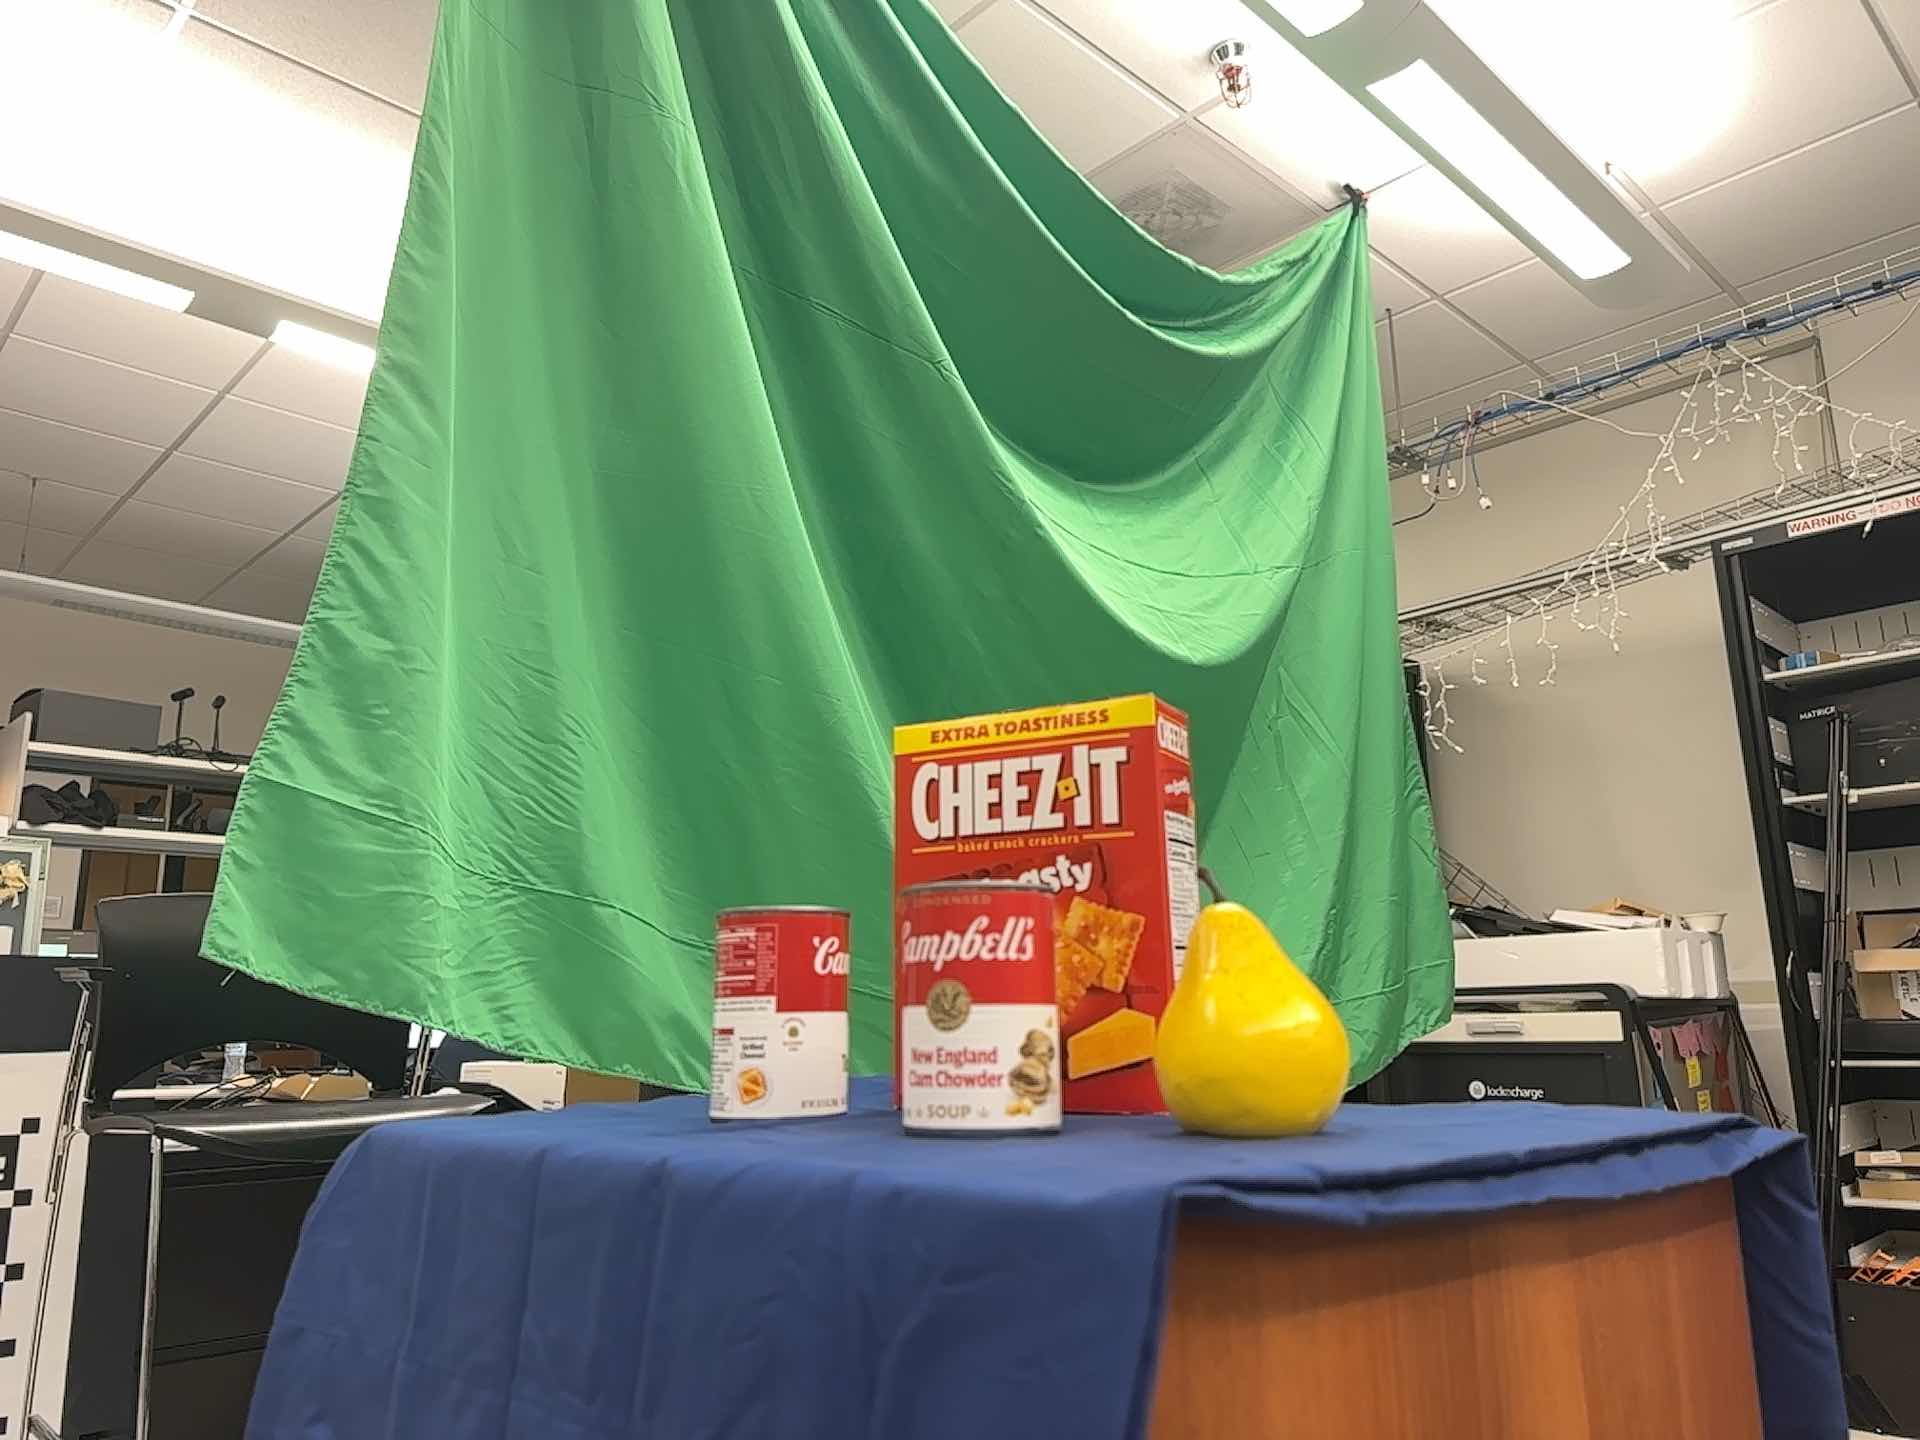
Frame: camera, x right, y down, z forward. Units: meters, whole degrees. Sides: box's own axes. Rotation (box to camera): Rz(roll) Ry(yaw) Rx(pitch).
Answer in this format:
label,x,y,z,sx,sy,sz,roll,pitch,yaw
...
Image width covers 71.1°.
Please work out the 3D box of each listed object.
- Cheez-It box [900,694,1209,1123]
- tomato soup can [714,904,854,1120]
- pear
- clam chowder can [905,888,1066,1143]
label,x,y,z,sx,sy,sz,roll,pitch,yaw
Cheez-It box,0.052,0.107,0.753,0.159,0.214,0.062,-7,-13,28
tomato soup can,-0.088,0.145,0.669,0.067,0.102,0.067,0,-13,0
pear,0.118,0.116,0.545,0.080,0.111,0.080,0,-10,0
clam chowder can,0.010,0.126,0.578,0.068,0.102,0.068,-1,-12,0
